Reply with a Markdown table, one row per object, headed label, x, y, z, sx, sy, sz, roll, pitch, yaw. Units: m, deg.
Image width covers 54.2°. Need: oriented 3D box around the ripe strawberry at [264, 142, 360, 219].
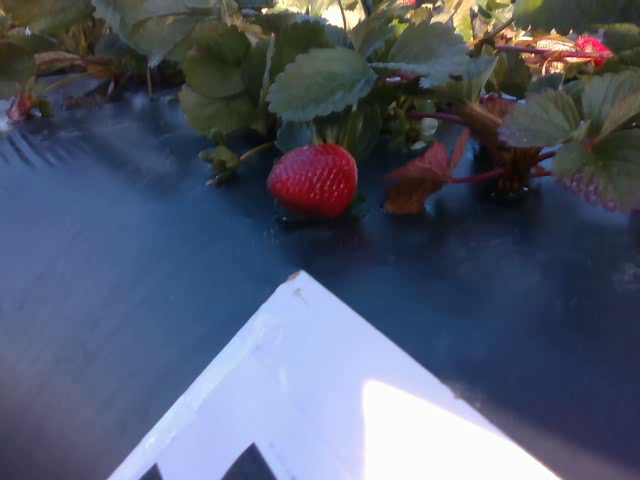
| label | x | y | z | sx | sy | sz | roll | pitch | yaw |
| --- | --- | --- | --- | --- | --- | --- | --- | --- | --- |
| ripe strawberry | -0.007 | -0.025 | 0.256 | 0.040 | 0.040 | 0.056 | -27 | -3 | 28 |
